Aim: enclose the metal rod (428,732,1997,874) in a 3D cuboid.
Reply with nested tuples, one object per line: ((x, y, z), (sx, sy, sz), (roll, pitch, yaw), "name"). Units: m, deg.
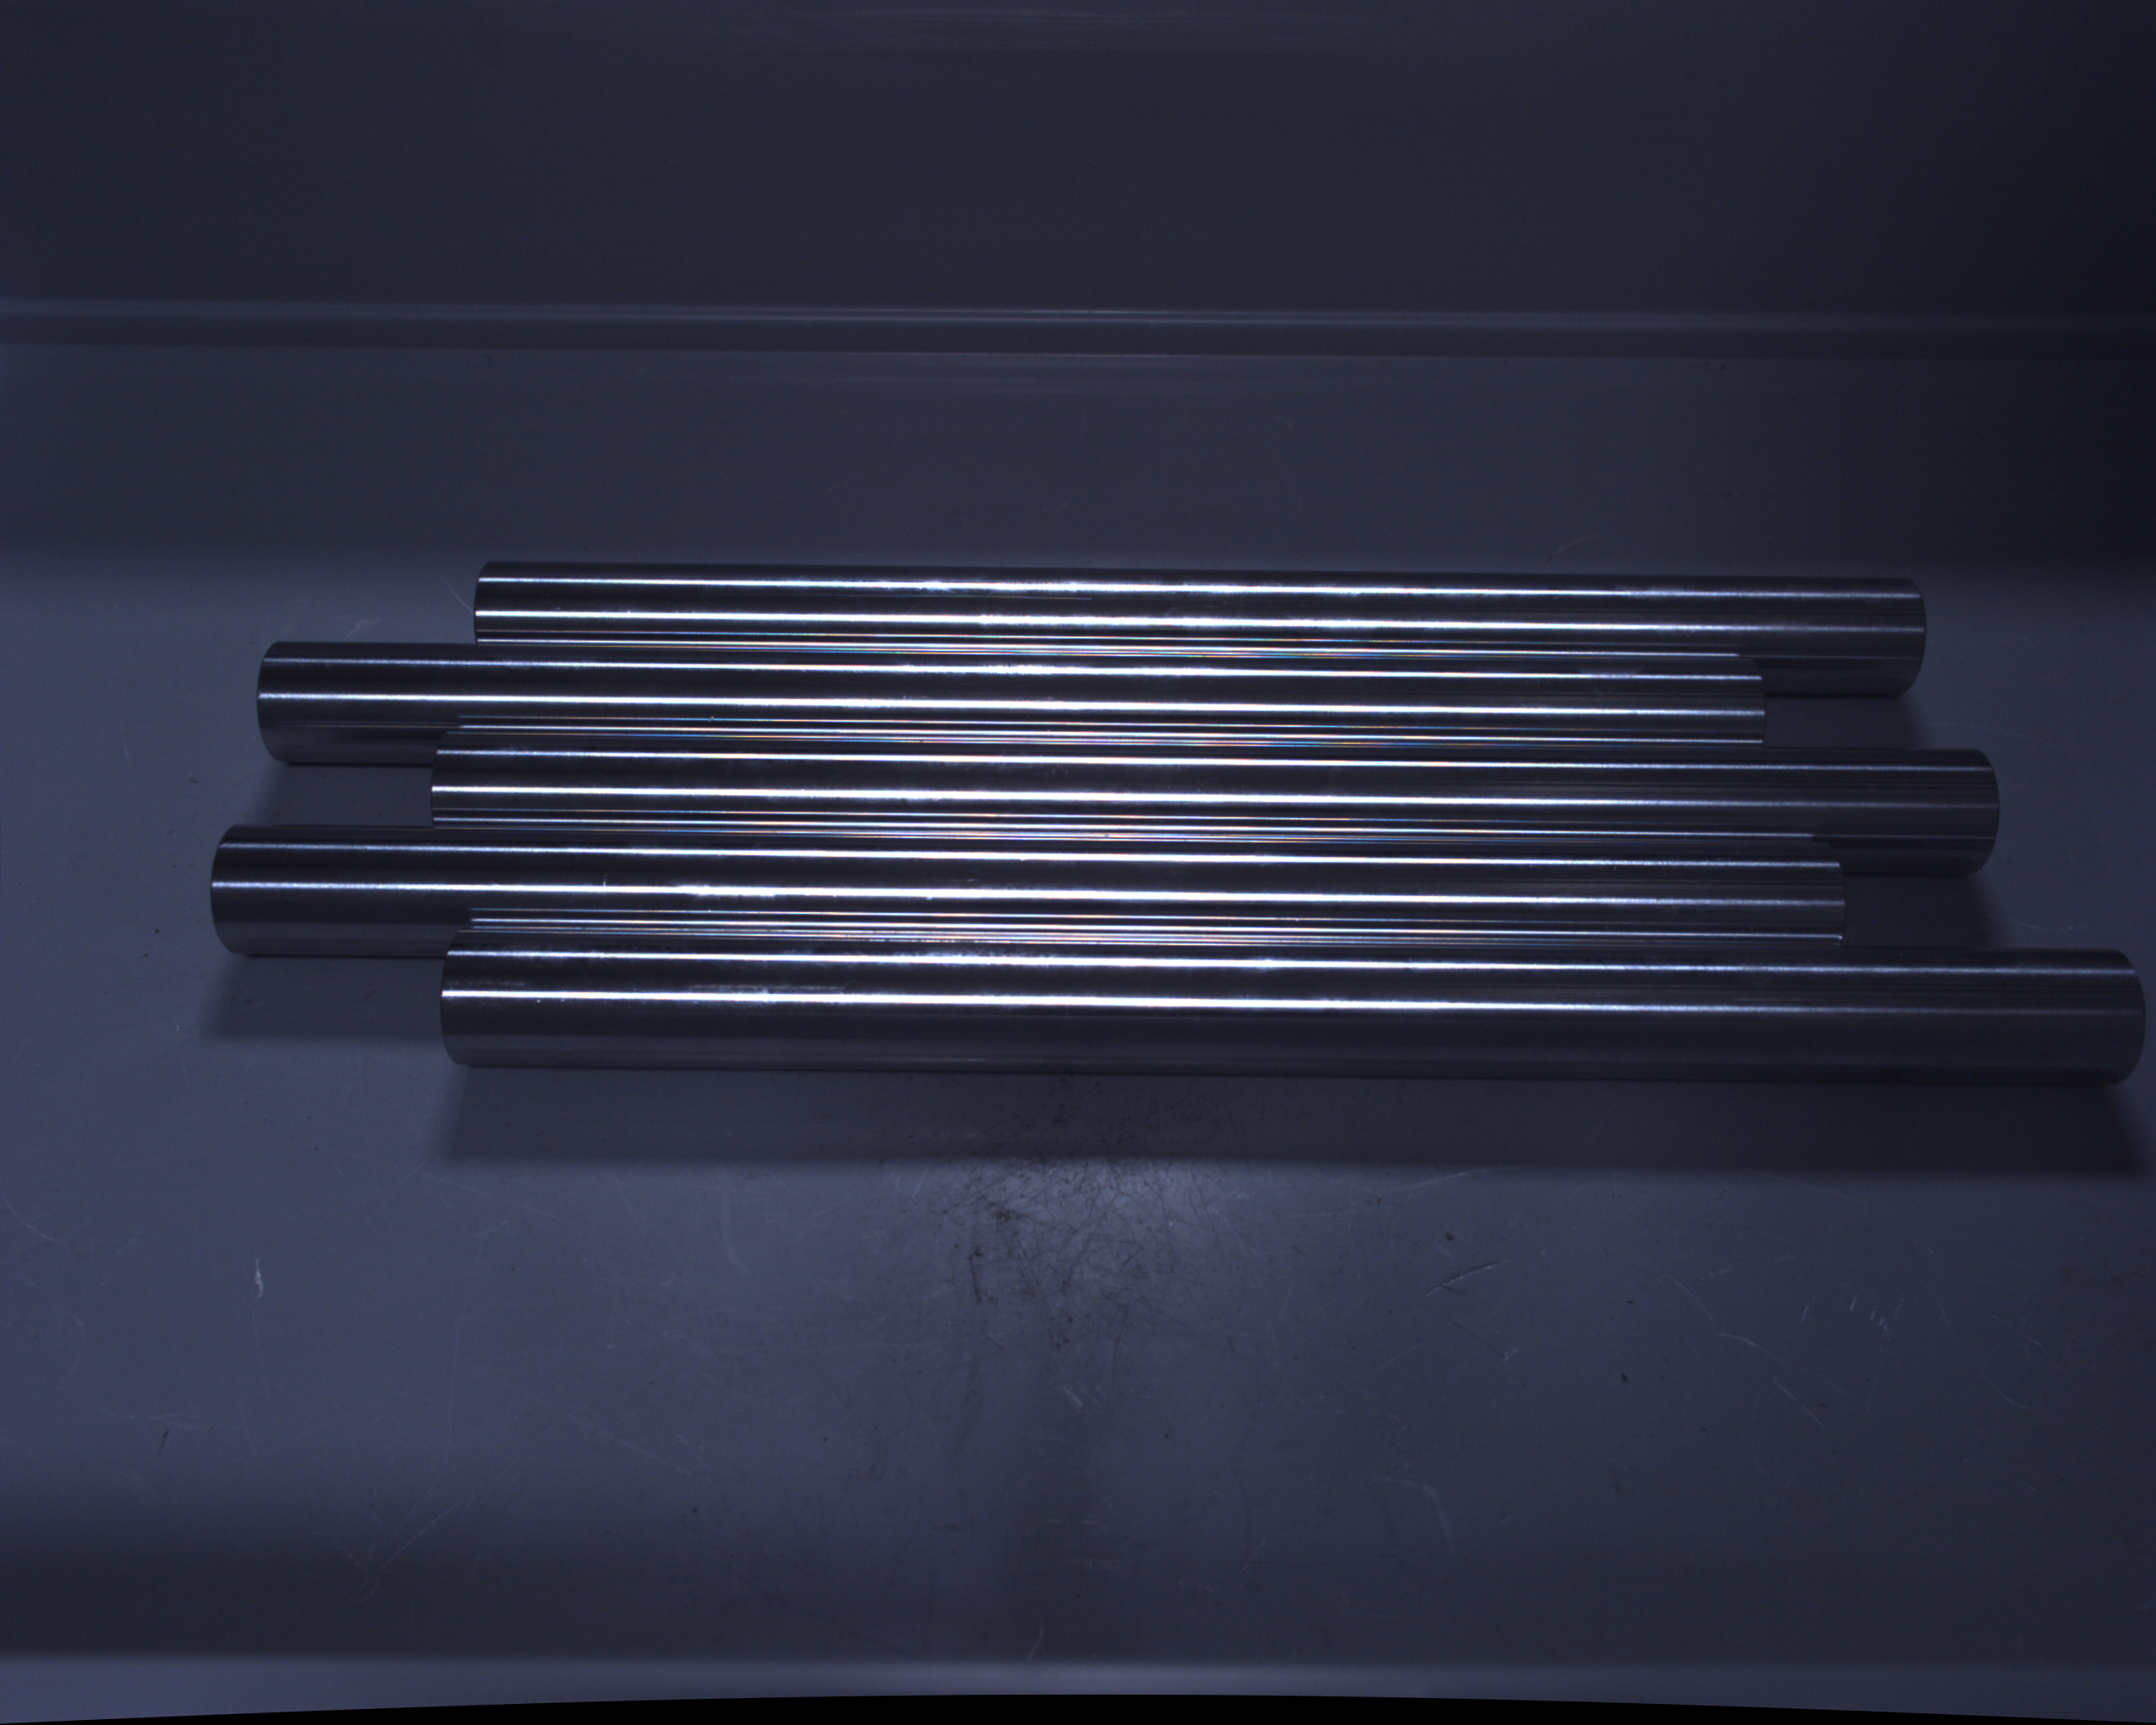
((0.026, -0.012, 0.414), (0.302, 0.025, 0.025), (1, 50, 0), "metal rod")

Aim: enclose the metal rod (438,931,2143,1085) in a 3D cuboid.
((0.038, 0.027, 0.381), (0.302, 0.025, 0.025), (1, 50, 0), "metal rod")

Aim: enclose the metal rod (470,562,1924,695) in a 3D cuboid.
((0.025, -0.050, 0.445), (0.302, 0.025, 0.025), (1, 50, 0), "metal rod")

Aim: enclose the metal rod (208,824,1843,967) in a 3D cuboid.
((-0.009, 0.007, 0.397), (0.302, 0.025, 0.025), (1, 50, 0), "metal rod")

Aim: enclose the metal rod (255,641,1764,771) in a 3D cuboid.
((-0.013, -0.031, 0.429), (0.302, 0.025, 0.025), (1, 50, 0), "metal rod")
